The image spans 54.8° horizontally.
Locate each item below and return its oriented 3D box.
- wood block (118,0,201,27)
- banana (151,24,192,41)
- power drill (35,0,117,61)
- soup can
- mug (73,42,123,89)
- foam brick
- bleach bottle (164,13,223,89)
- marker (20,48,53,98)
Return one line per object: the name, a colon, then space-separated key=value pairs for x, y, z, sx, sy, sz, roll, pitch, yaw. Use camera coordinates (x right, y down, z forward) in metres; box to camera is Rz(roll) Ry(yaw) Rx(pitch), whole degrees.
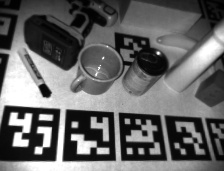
wood block: x=0.128 y=-0.229 z=0.610 sx=0.208 sy=0.090 sz=0.089 roll=3 pitch=65 yaw=-17
banana: x=0.206 y=-0.135 z=0.615 sx=0.198 sy=0.038 sz=0.074 roll=19 pitch=74 yaw=-11
power drill: x=-0.098 y=-0.162 z=0.524 sx=0.185 sy=0.057 sz=0.187 roll=31 pitch=58 yaw=-5
soup can: x=0.070 y=-0.040 z=0.480 sx=0.068 sy=0.102 sz=0.067 roll=9 pitch=57 yaw=-14
mug: x=-0.038 y=-0.036 z=0.459 sx=0.093 sy=0.081 sz=0.118 roll=43 pitch=62 yaw=4
foam brick: x=0.261 y=-0.005 z=0.551 sx=0.053 sy=0.078 sz=0.051 roll=33 pitch=57 yaw=3
bleach bottle: x=0.206 y=-0.090 z=0.472 sx=0.068 sy=0.250 sz=0.103 roll=29 pitch=58 yaw=0
marker: x=-0.159 y=-0.026 z=0.453 sx=0.020 sy=0.019 sz=0.120 roll=-27 pitch=76 yaw=-25
